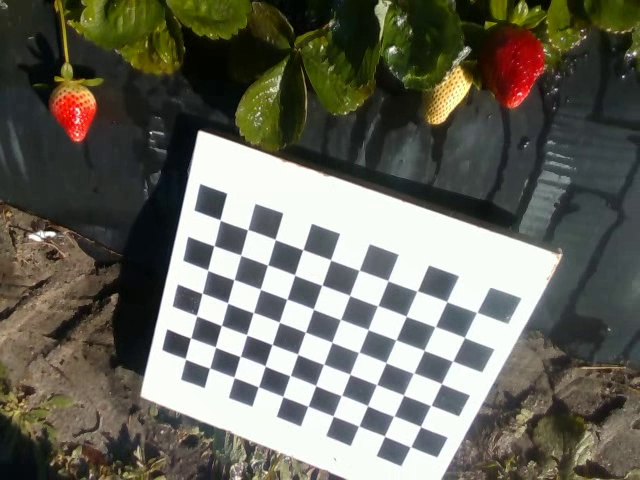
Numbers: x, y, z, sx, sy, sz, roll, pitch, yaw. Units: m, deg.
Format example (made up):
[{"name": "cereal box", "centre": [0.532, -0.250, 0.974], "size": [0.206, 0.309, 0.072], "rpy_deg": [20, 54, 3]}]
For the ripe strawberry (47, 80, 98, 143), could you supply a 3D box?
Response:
[{"name": "ripe strawberry", "centre": [-0.191, -0.101, 0.476], "size": [0.039, 0.053, 0.040], "rpy_deg": [-1, 4, 14]}]
